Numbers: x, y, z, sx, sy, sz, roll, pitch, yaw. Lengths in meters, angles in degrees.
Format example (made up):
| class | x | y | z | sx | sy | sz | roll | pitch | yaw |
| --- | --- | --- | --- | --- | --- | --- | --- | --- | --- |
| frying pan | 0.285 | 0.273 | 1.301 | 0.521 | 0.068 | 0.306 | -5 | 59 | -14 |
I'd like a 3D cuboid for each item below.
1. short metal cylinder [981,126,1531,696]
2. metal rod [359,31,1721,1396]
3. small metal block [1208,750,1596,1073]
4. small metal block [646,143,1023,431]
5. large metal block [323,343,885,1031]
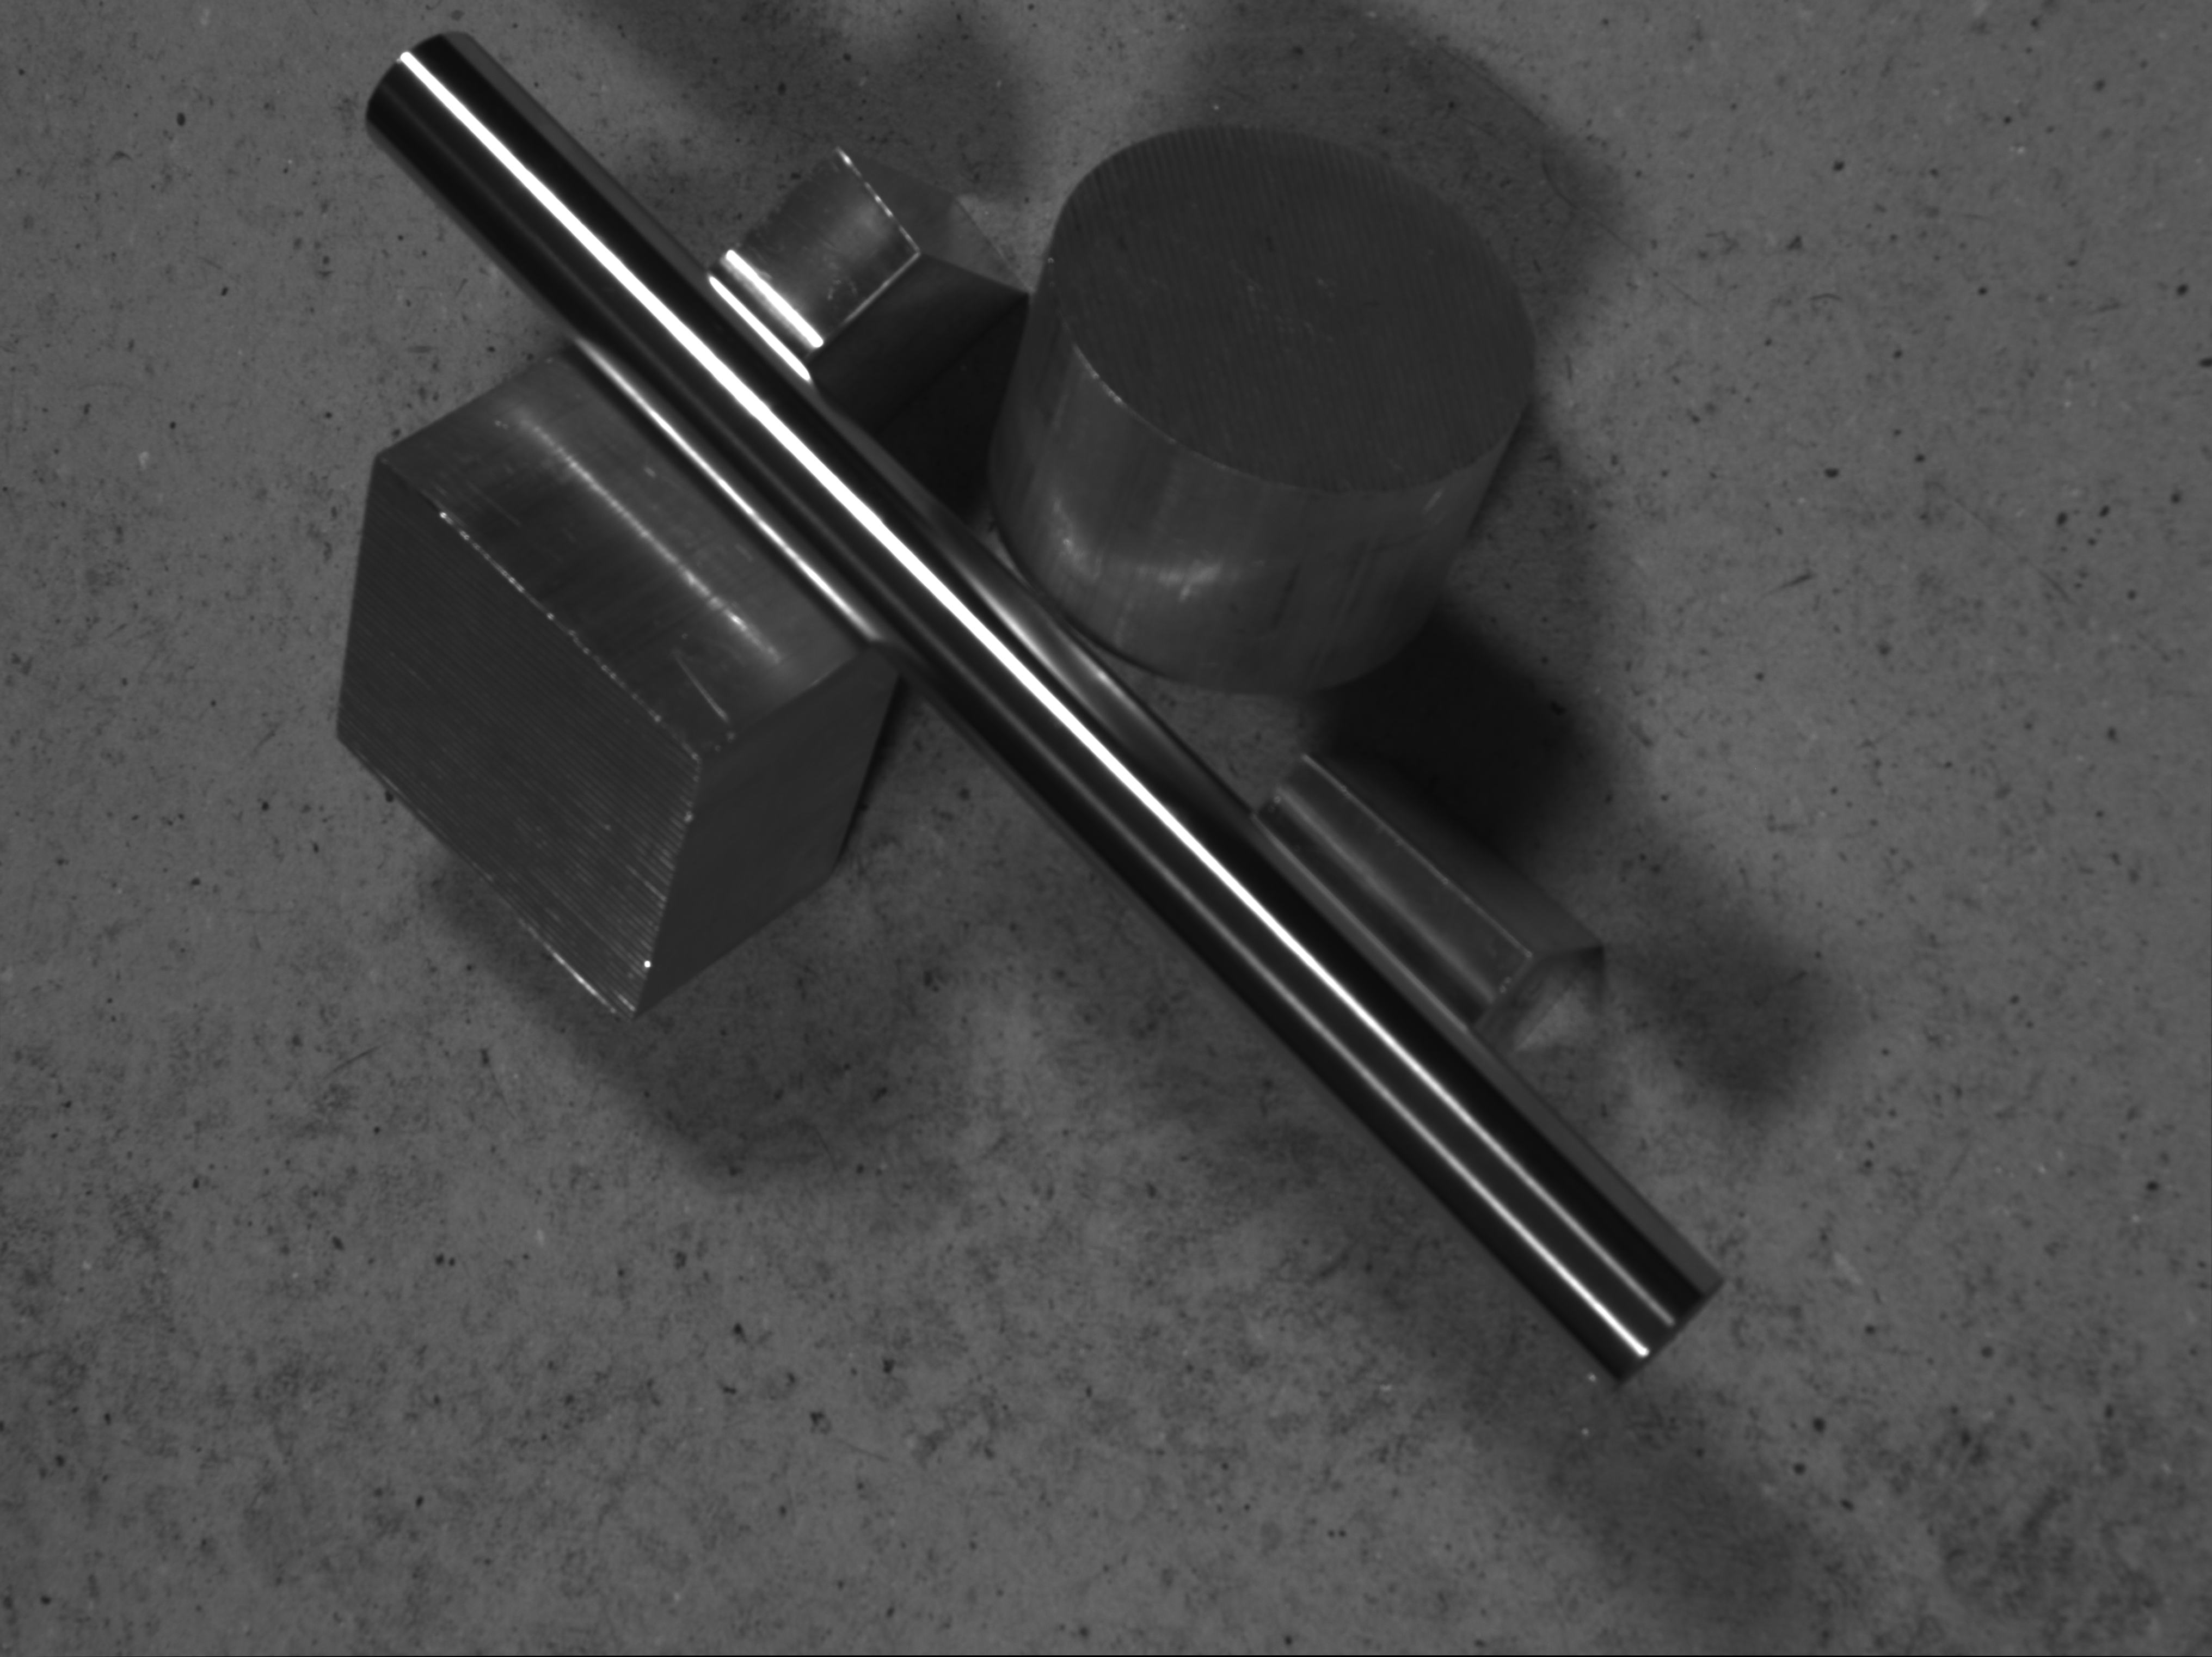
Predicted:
| class | x | y | z | sx | sy | sz | roll | pitch | yaw |
| --- | --- | --- | --- | --- | --- | --- | --- | --- | --- |
| short metal cylinder | 0.024 | -0.069 | 0.600 | 0.080 | 0.080 | 0.050 | 41 | 144 | 15 |
| metal rod | -0.017 | -0.025 | 0.598 | 0.300 | 0.025 | 0.025 | 45 | 104 | 14 |
| small metal block | 0.050 | 0.013 | 0.610 | 0.050 | 0.050 | 0.025 | 43 | 103 | 15 |
| small metal block | -0.049 | -0.091 | 0.649 | 0.050 | 0.050 | 0.025 | -41 | 77 | 15 |
| large metal block | -0.089 | -0.026 | 0.644 | 0.080 | 0.050 | 0.080 | 42 | 143 | 15 |
